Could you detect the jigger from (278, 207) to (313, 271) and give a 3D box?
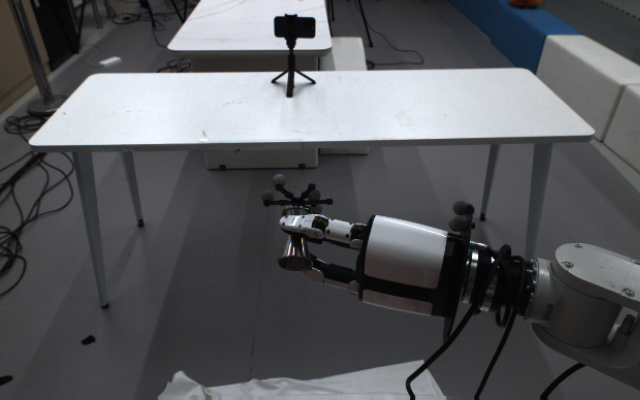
[{"bbox_3d":[-0.028,0.044,0.586,0.043,0.043,0.071,2,59,0],"label":"jigger"}]
